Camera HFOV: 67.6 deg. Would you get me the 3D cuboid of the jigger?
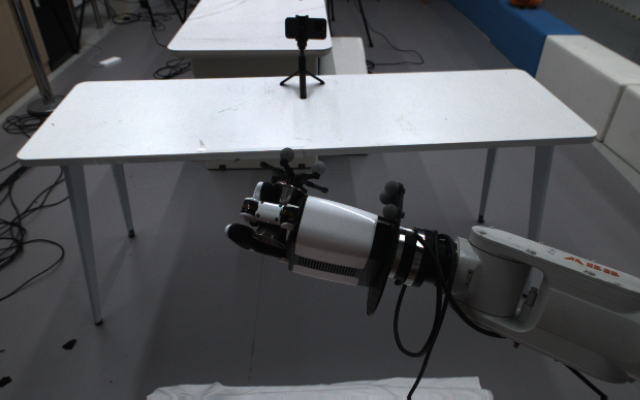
[{"bbox_3d":[-0.047,0.017,0.572,0.043,0.043,0.071,15,70,18],"label":"jigger"}]
